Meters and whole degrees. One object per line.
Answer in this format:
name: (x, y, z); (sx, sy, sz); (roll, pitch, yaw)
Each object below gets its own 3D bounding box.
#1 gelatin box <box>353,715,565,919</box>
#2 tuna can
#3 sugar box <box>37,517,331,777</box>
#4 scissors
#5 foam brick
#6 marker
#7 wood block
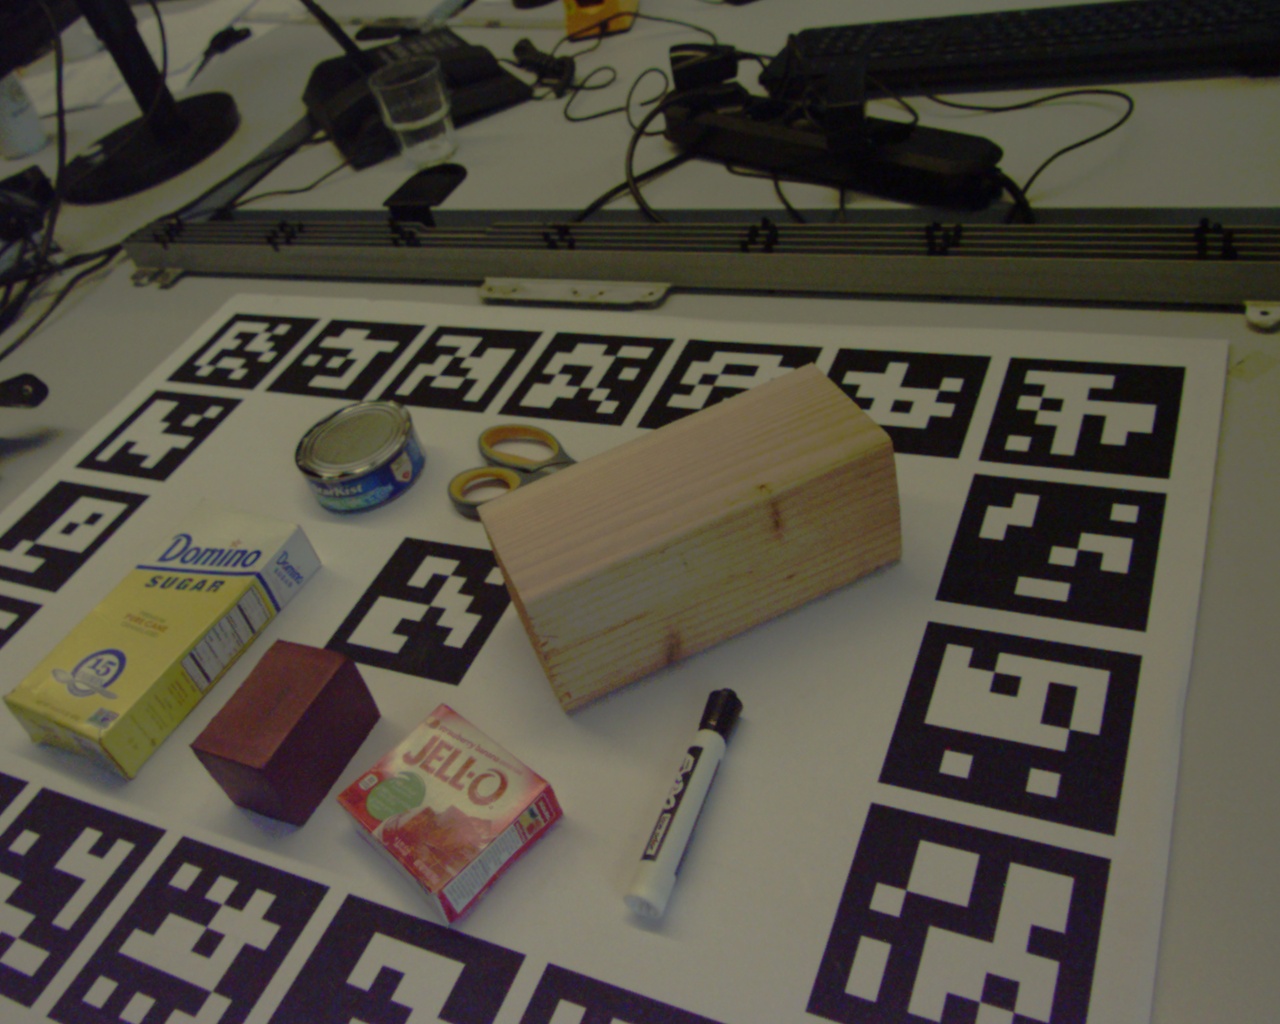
gelatin box: (-0.097, 0.158, 0.604); (0.090, 0.030, 0.073); (25, 59, 38)
tuna can: (-0.205, -0.032, 0.838); (0.086, 0.033, 0.086); (-11, 43, 10)
sugar box: (-0.294, 0.082, 0.748); (0.094, 0.045, 0.175); (12, 51, 29)
scissors: (-0.044, -0.010, 0.771); (0.205, 0.016, 0.087); (12, 51, 33)
foam brick: (-0.190, 0.129, 0.648); (0.053, 0.051, 0.078); (9, 50, 28)
marker: (0.017, 0.145, 0.580); (0.020, 0.019, 0.120); (8, 51, 27)
wood block: (0.028, 0.025, 0.658); (0.206, 0.090, 0.091); (-25, 41, -7)
